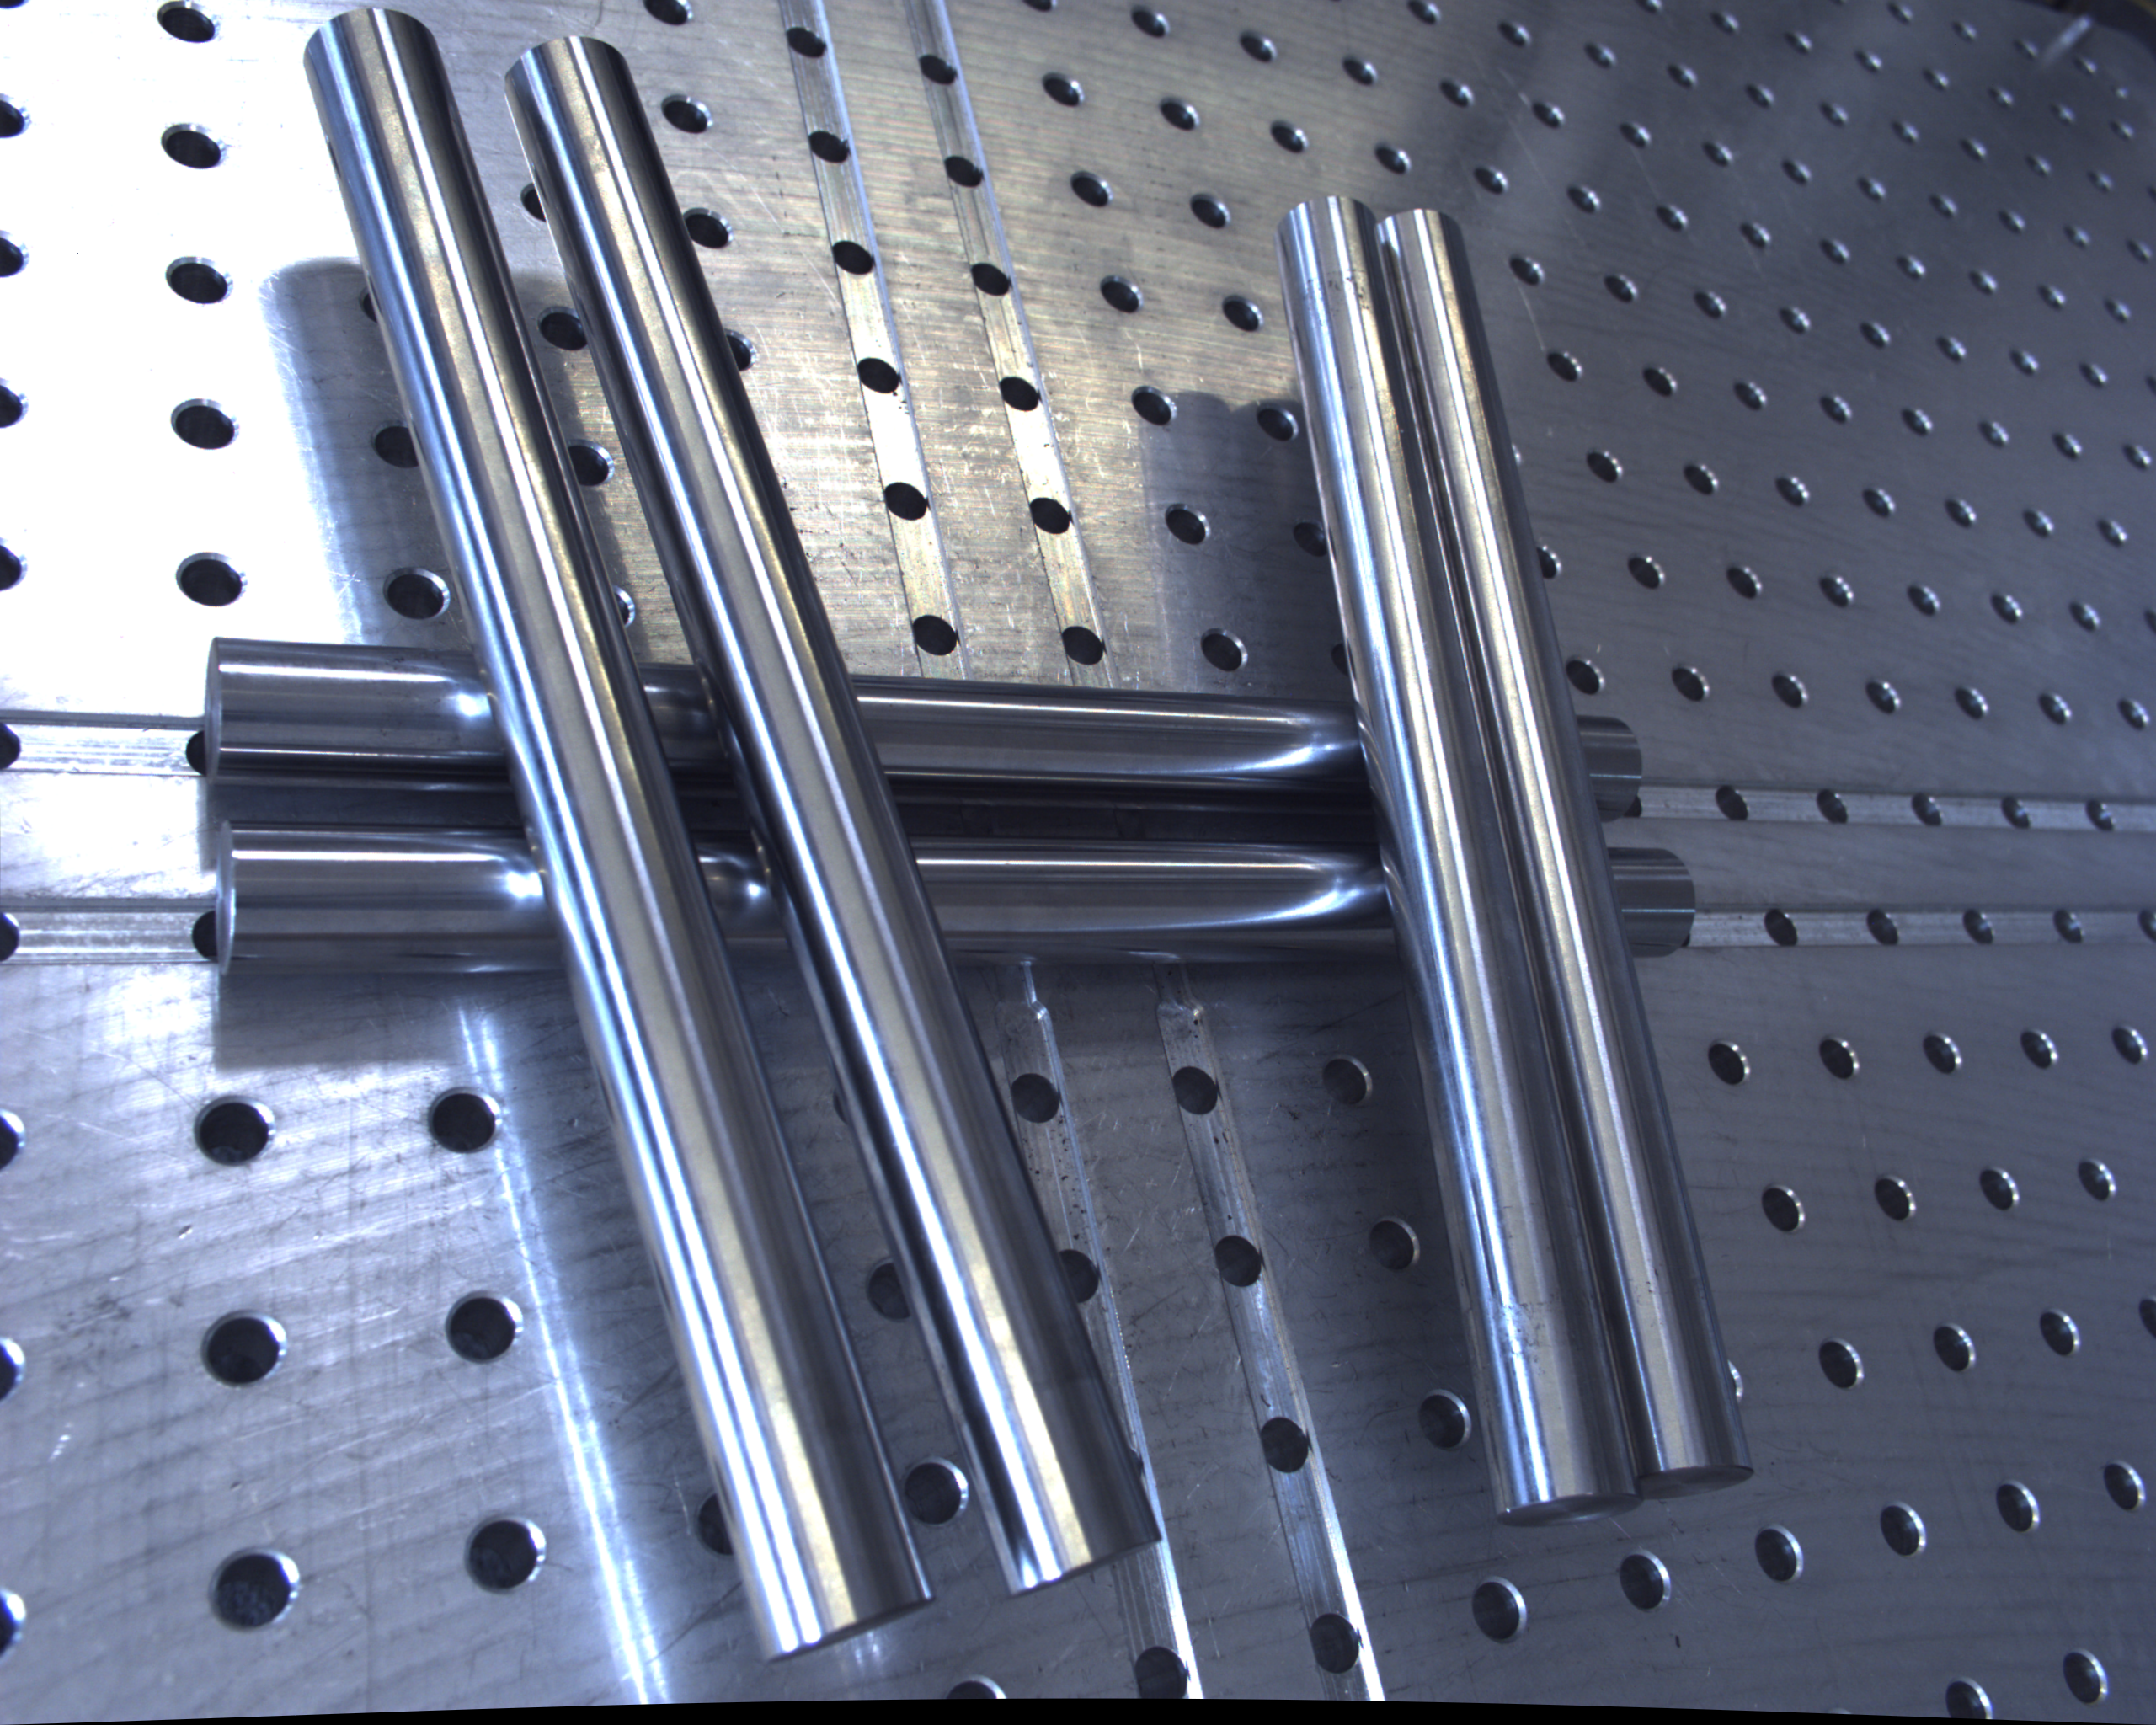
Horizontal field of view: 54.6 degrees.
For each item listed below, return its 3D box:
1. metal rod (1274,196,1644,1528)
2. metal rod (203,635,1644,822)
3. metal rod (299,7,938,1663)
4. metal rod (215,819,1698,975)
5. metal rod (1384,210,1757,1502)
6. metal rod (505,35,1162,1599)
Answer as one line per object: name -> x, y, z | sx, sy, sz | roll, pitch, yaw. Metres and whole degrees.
metal rod -> 0.071, -0.020, 0.427 | 0.025, 0.025, 0.299 | 9, 58, -24
metal rod -> -0.010, -0.023, 0.417 | 0.302, 0.025, 0.025 | 1, 62, -28
metal rod -> -0.083, -0.022, 0.345 | 0.025, 0.025, 0.299 | -8, 66, -32
metal rod -> -0.002, 0.007, 0.403 | 0.302, 0.025, 0.025 | 1, 62, -28
metal rod -> 0.094, -0.021, 0.440 | 0.025, 0.025, 0.299 | 9, 58, -24
metal rod -> -0.050, -0.025, 0.364 | 0.025, 0.025, 0.299 | -8, 66, -32
